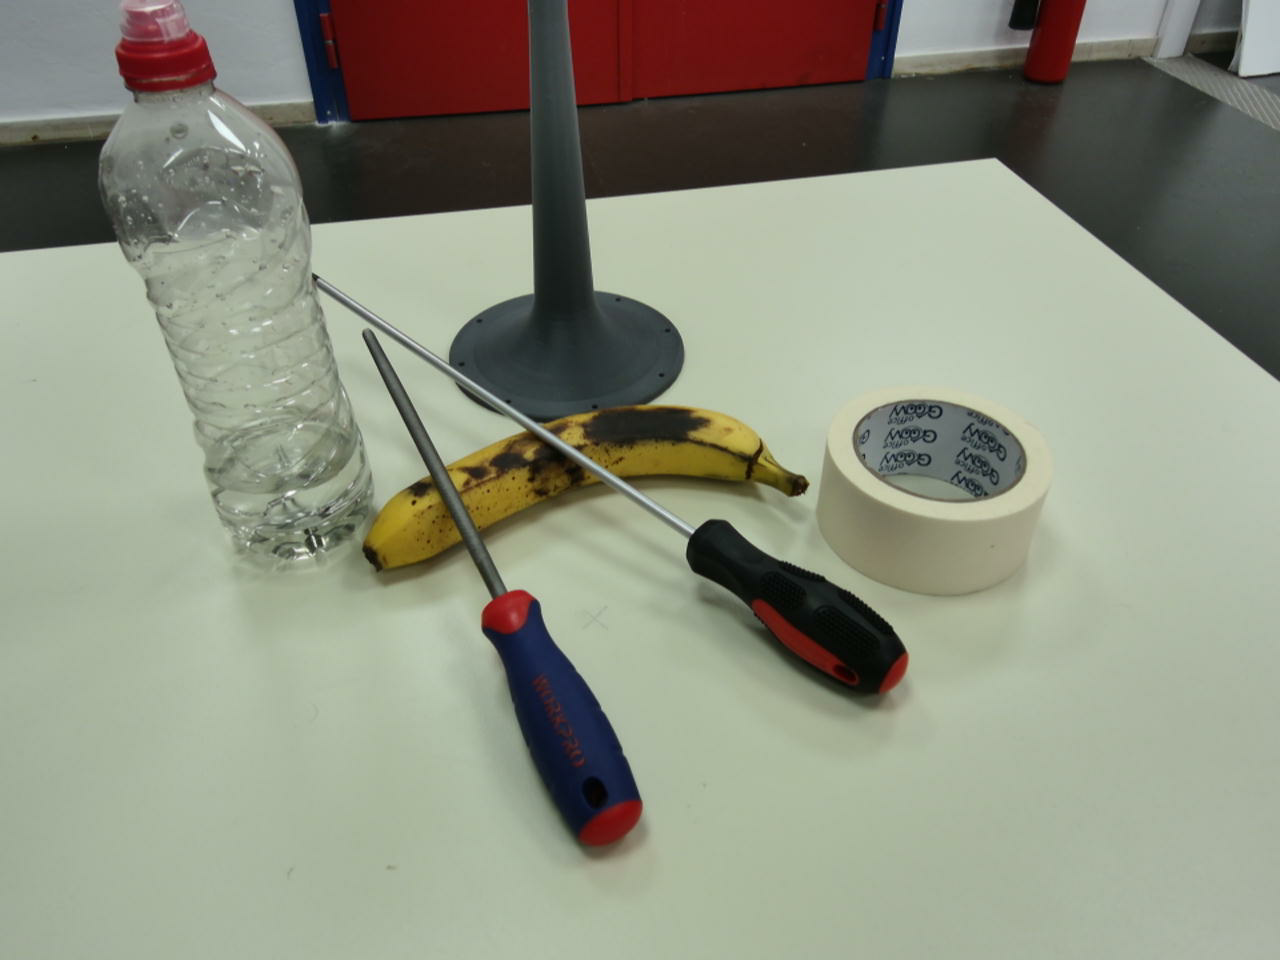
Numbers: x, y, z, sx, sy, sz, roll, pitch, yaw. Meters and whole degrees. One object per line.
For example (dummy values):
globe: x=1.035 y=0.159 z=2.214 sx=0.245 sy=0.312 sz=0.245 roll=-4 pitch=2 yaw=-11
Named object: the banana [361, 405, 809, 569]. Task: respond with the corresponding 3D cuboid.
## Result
banana: x=-0.031 y=-0.004 z=0.518 sx=0.222 sy=0.037 sz=0.084 roll=-8 pitch=40 yaw=-10
